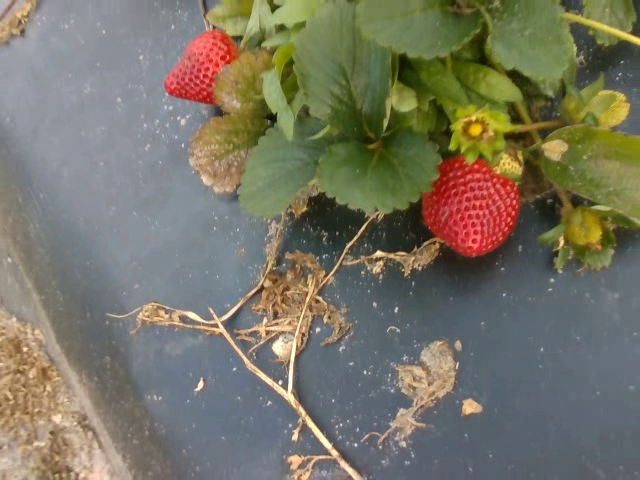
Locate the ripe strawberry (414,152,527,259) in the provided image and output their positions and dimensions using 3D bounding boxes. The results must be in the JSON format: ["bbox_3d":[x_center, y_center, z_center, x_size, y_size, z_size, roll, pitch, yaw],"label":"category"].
[{"bbox_3d":[0.062,-0.012,0.268,0.043,0.046,0.046,-24,-48,30],"label":"ripe strawberry"}]

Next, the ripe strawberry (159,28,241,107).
[{"bbox_3d":[-0.061,-0.089,0.342,0.050,0.043,0.043,-29,-23,2],"label":"ripe strawberry"}]
